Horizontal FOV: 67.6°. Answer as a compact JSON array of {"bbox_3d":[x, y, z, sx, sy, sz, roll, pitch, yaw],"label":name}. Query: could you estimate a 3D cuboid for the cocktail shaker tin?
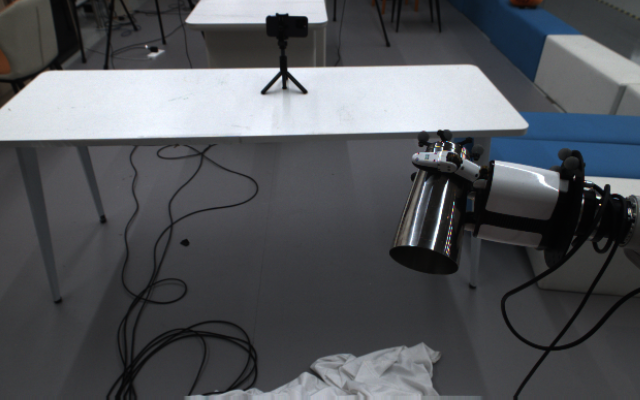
[{"bbox_3d":[0.163,0.002,0.667,0.093,0.093,0.170,12,65,14],"label":"cocktail shaker tin"}]
